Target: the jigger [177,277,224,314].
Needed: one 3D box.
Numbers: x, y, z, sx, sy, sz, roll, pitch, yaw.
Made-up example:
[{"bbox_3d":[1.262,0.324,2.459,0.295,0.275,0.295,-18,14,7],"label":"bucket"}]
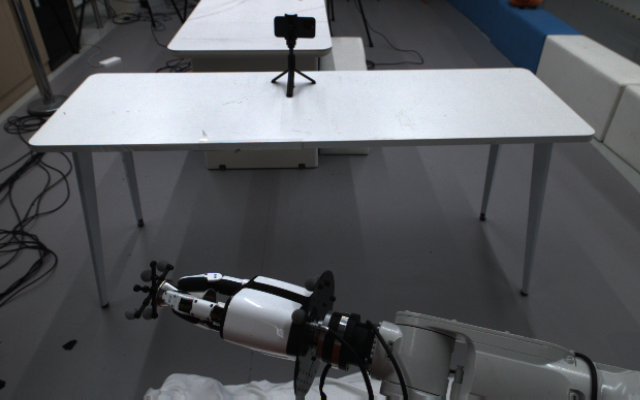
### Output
[{"bbox_3d":[-0.176,0.131,0.654,0.071,0.043,0.043,10,35,16],"label":"jigger"}]
